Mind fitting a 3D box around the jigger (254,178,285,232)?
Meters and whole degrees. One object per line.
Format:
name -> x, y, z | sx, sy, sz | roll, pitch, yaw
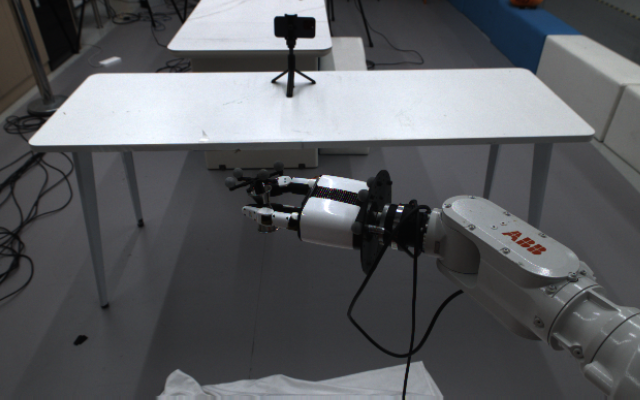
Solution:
jigger -> -0.088, 0.014, 0.782 | 0.043, 0.071, 0.043 | -11, 24, 5
